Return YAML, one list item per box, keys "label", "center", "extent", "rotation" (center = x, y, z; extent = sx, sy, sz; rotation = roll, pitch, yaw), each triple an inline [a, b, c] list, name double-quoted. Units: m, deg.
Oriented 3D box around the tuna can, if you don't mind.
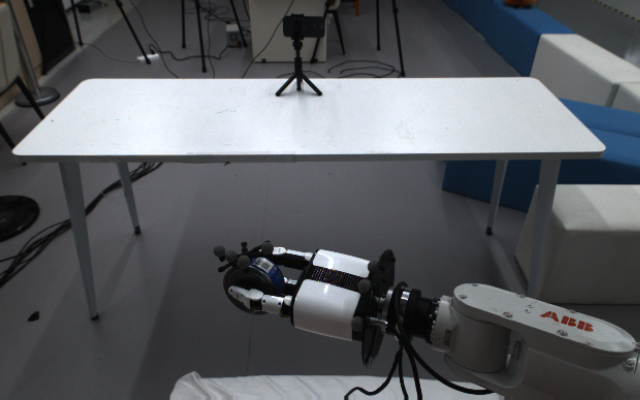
- label: "tuna can"
  center: [-0.088, 0.124, 0.702]
  extent: [0.085, 0.085, 0.034]
  rotation: [13, 28, 15]
